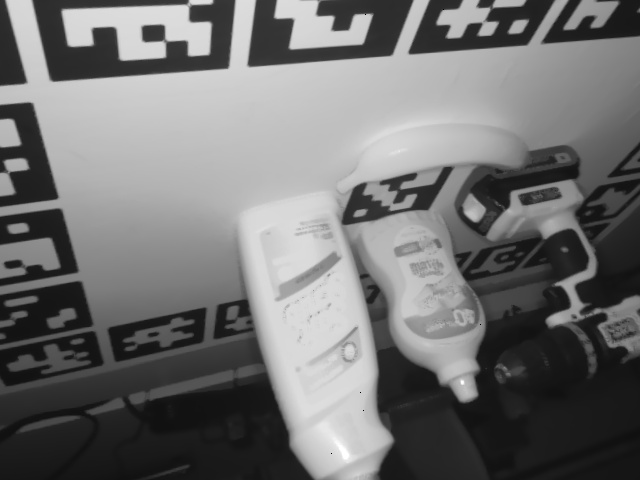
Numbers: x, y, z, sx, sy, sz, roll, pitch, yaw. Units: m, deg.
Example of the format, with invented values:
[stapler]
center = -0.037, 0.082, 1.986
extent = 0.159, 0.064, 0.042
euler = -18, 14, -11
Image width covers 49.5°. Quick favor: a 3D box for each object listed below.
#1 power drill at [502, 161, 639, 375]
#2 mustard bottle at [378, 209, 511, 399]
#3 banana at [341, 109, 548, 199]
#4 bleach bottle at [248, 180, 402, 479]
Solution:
[power drill]
center = 0.236, 0.023, 0.633
extent = 0.186, 0.187, 0.057
euler = -10, 153, -10
[mustard bottle]
center = 0.128, 0.061, 0.667
extent = 0.097, 0.192, 0.058
euler = -9, 147, -13
[banana]
center = 0.114, -0.079, 0.590
extent = 0.199, 0.039, 0.073
euler = -11, 143, -18
[bleach bottle]
center = 0.014, 0.069, 0.576
extent = 0.103, 0.251, 0.067
euler = -15, 147, -7
